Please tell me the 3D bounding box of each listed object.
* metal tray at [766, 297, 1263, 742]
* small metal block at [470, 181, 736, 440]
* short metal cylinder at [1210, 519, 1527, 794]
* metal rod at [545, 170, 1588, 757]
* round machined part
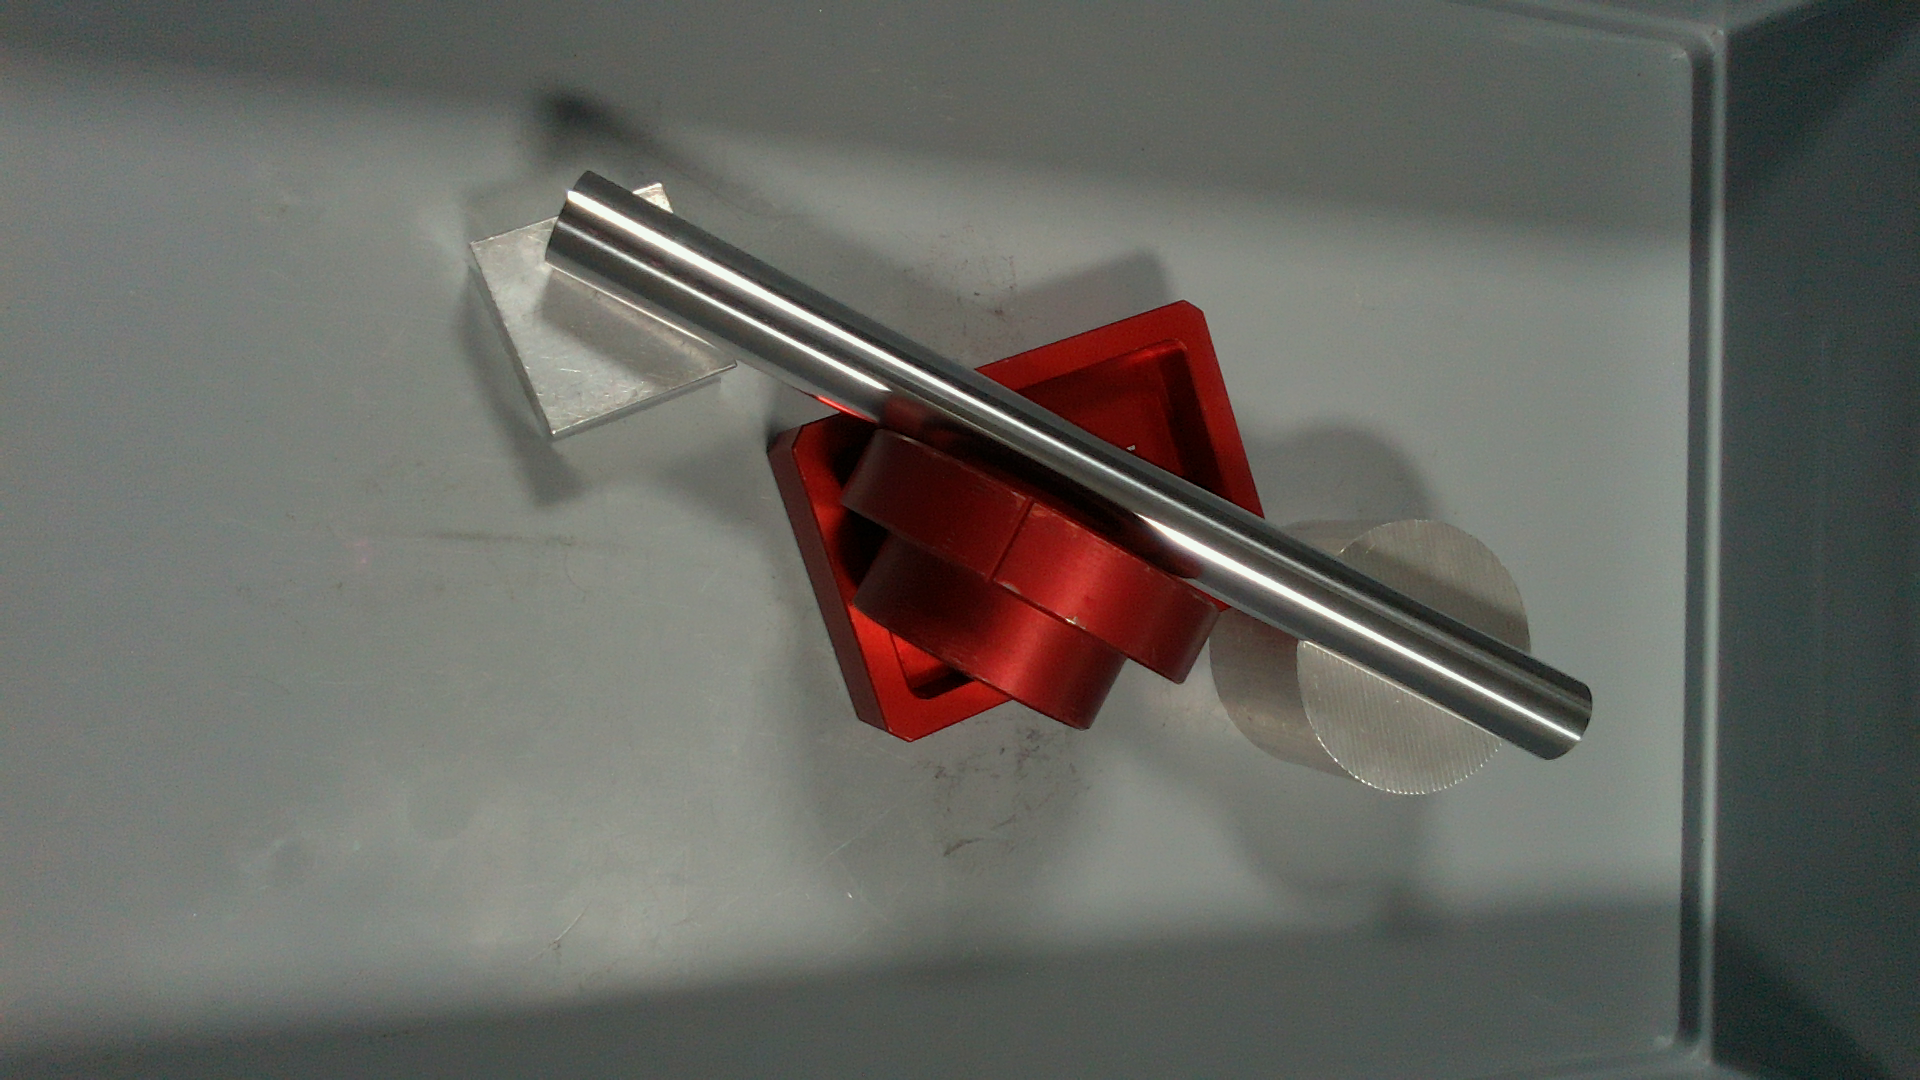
[{"bbox_3d":[0.021,-0.008,0.396,0.130,0.030,0.090,-20,97,-19],"label":"metal tray"},{"bbox_3d":[-0.093,-0.059,0.358,0.050,0.025,0.050,-23,98,-18],"label":"small metal block"},{"bbox_3d":[0.125,0.034,0.425,0.080,0.050,0.080,0,90,-20],"label":"short metal cylinder"},{"bbox_3d":[0.038,-0.014,0.363,0.300,0.025,0.025,26,82,-12],"label":"metal rod"},{"bbox_3d":[0.012,0.014,0.344,0.098,0.098,0.042,29,88,-18],"label":"round machined part"}]
